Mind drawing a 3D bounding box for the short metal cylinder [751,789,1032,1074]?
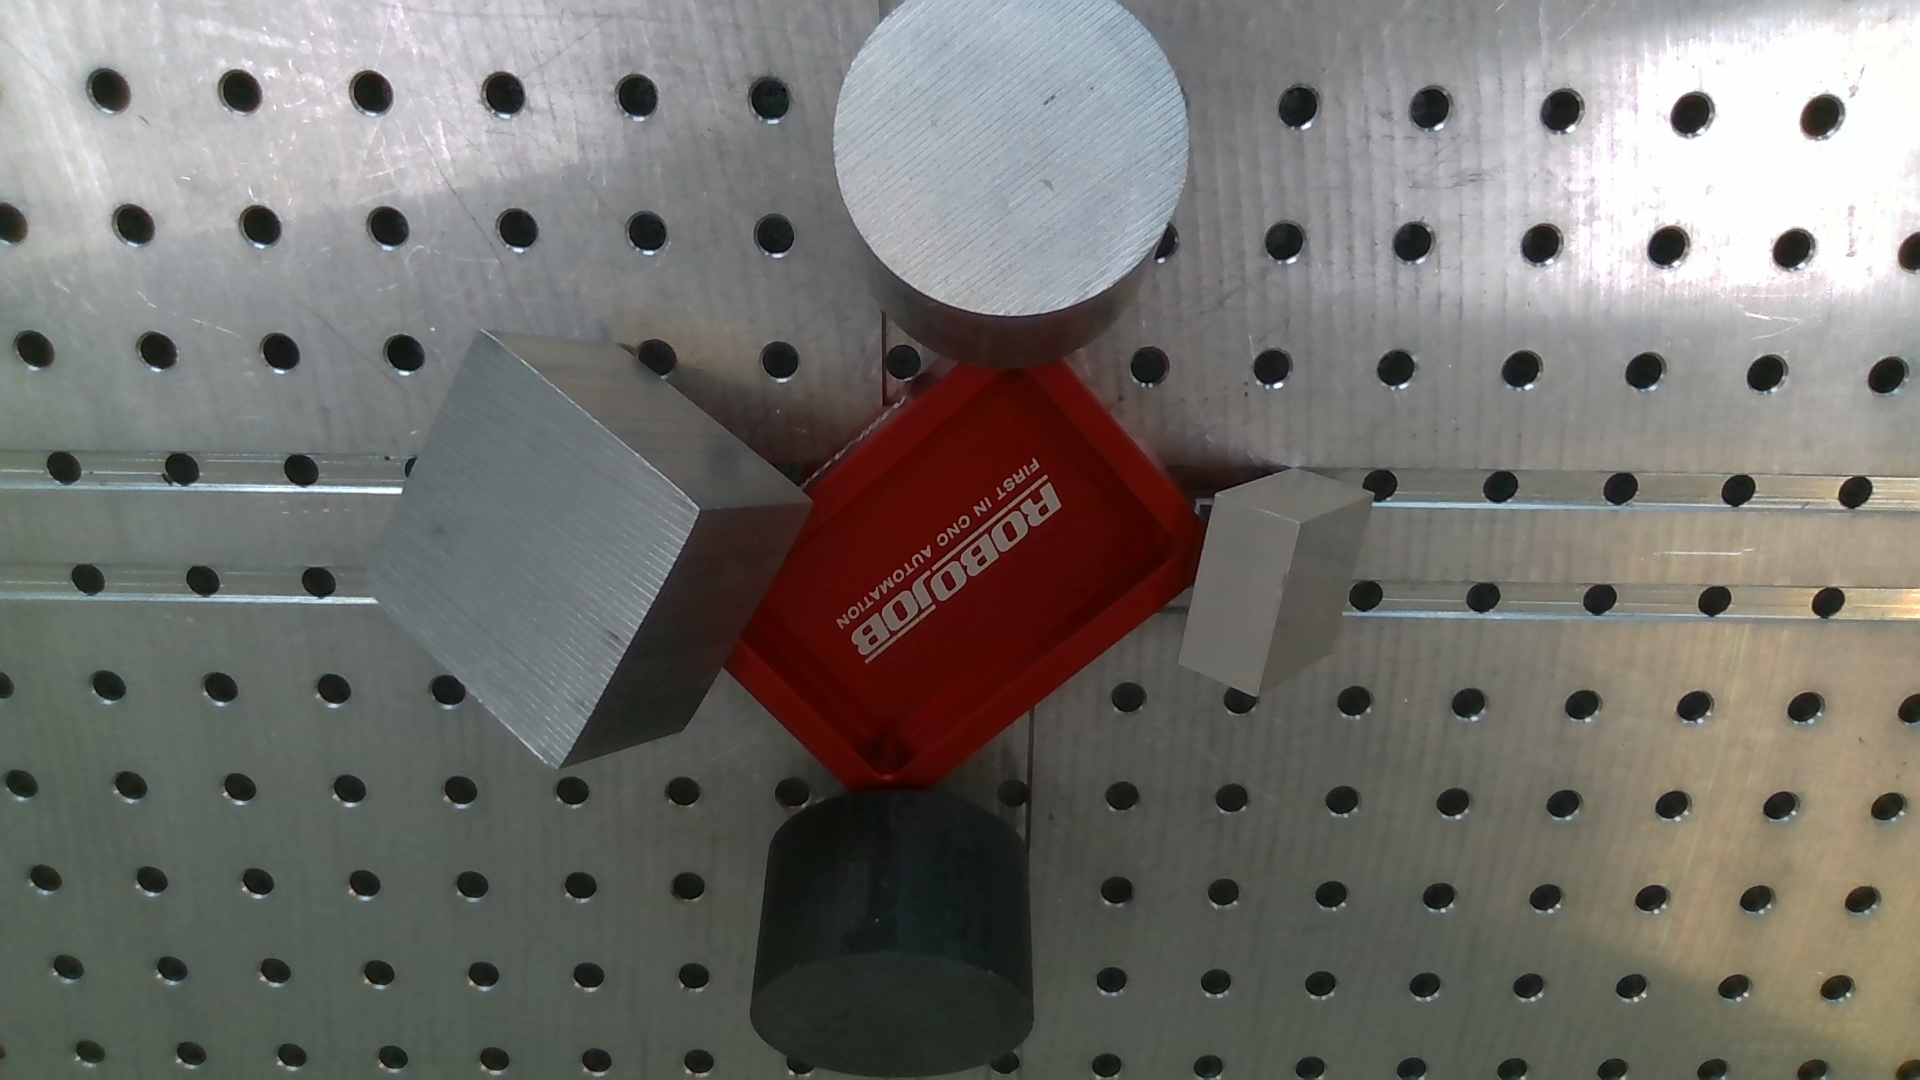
[{"bbox_3d":[-0.019,0.118,0.410,0.080,0.050,0.080,0,136,0],"label":"short metal cylinder"}]

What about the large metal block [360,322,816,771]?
[{"bbox_3d":[-0.099,0.000,0.364,0.080,0.050,0.080,39,108,19],"label":"large metal block"}]

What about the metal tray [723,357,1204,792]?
[{"bbox_3d":[-0.003,0.008,0.395,0.130,0.030,0.090,-40,105,13],"label":"metal tray"}]

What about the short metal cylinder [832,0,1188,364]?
[{"bbox_3d":[0.011,-0.087,0.335,0.080,0.050,0.080,0,84,0],"label":"short metal cylinder"}]

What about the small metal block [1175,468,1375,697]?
[{"bbox_3d":[0.088,0.010,0.384,0.025,0.050,0.050,23,113,32],"label":"small metal block"}]
